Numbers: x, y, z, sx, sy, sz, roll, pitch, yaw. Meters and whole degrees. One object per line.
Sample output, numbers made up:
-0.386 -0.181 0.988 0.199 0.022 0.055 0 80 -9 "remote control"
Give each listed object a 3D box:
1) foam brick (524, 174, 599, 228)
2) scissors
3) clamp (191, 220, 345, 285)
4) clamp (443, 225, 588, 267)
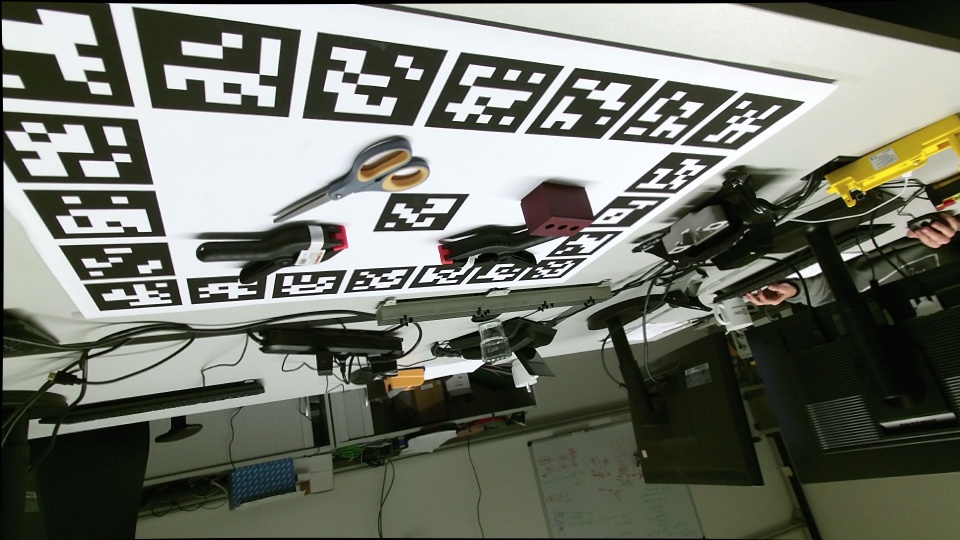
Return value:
0.110 -0.091 0.713 0.078 0.051 0.053 -5 156 -35 "foam brick"
-0.138 -0.093 0.578 0.203 0.016 0.088 -21 151 22 "scissors"
-0.249 -0.026 0.669 0.166 0.036 0.122 -15 152 -1 "clamp"
0.041 -0.037 0.820 0.203 0.036 0.165 -5 160 -22 "clamp"
